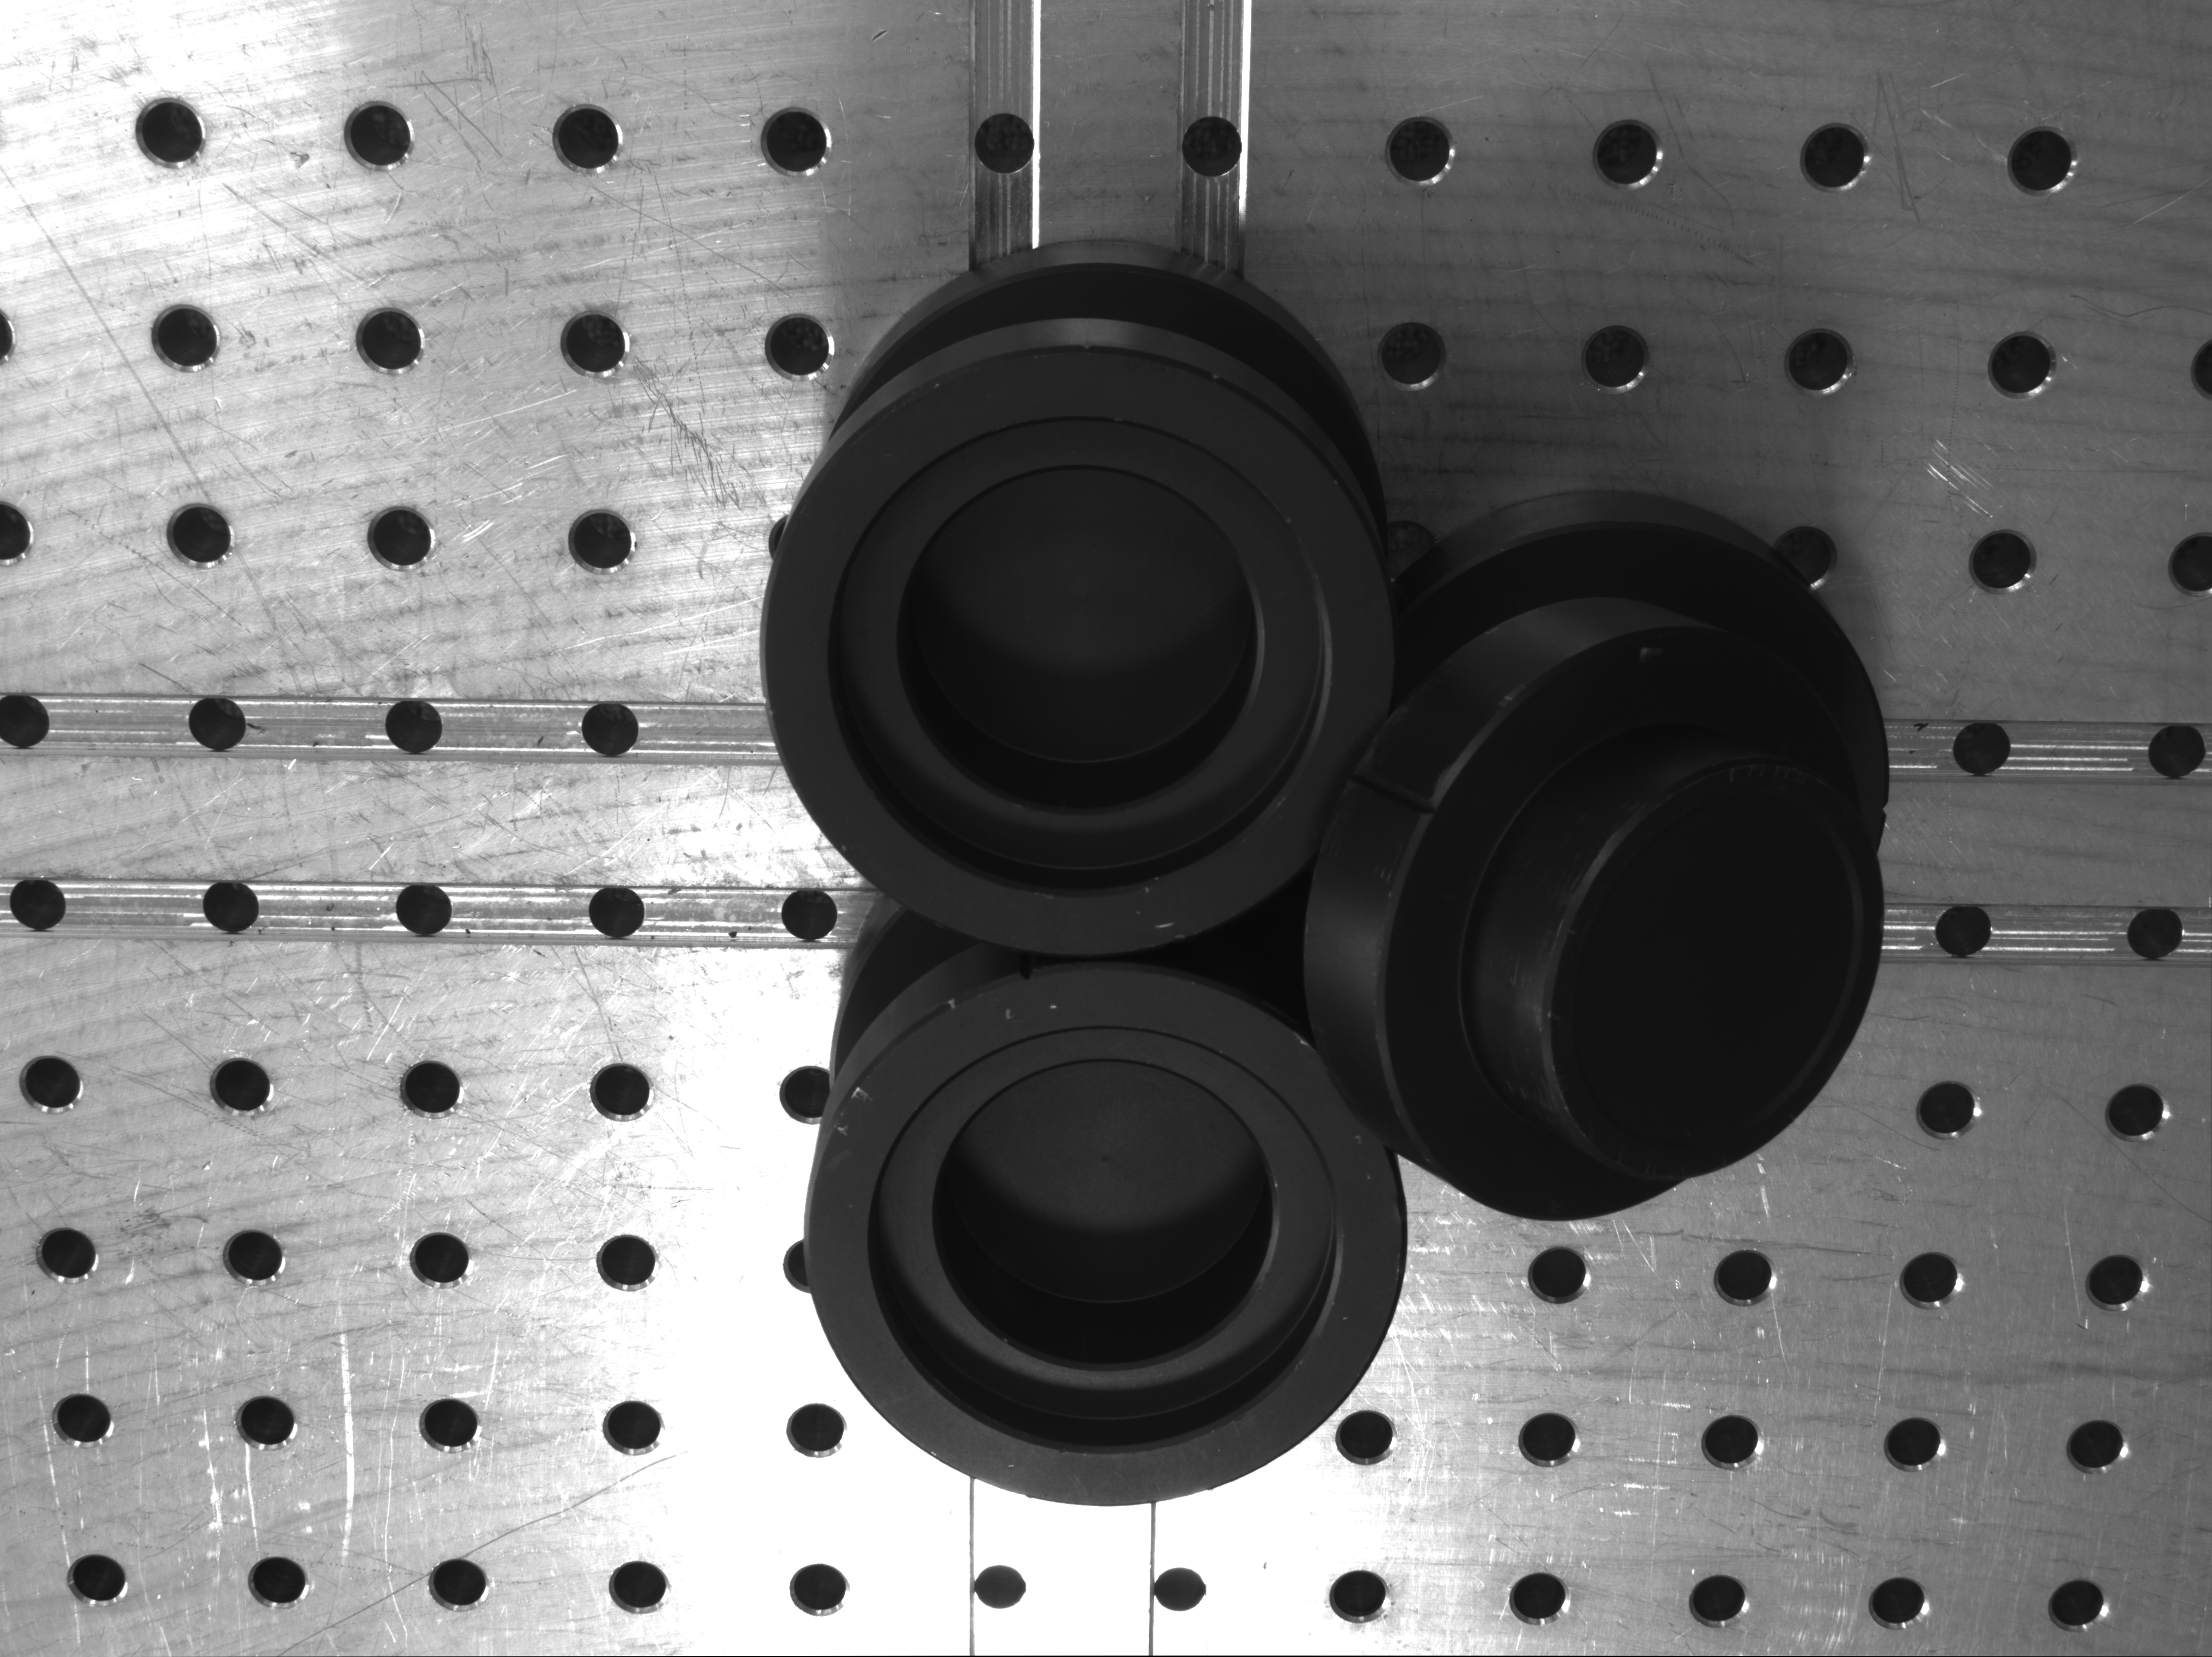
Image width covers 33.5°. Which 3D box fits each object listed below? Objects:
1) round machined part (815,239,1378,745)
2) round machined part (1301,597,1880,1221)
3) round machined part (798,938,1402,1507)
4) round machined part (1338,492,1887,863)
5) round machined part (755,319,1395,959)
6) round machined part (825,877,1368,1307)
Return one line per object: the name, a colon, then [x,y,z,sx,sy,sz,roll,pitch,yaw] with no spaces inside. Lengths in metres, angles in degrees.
round machined part: [-0.003,-0.047,0.621,0.098,0.042,0.098,0,110,0]
round machined part: [0.082,0.016,0.576,0.098,0.042,0.098,-12,112,-30]
round machined part: [-0.001,0.060,0.614,0.098,0.042,0.098,0,110,0]
round machined part: [0.086,-0.006,0.636,0.098,0.042,0.098,0,110,0]
round machined part: [-0.005,-0.032,0.581,0.098,0.042,0.098,0,110,0]
round machined part: [-0.001,0.046,0.655,0.098,0.042,0.098,0,110,0]
